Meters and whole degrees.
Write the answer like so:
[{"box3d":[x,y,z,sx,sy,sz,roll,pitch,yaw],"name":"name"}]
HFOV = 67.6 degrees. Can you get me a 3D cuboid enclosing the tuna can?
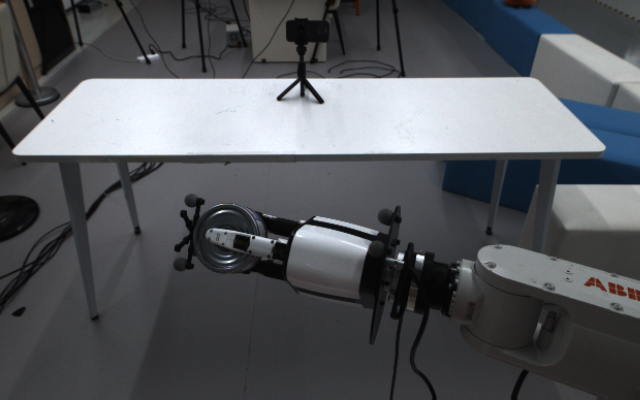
[{"box3d":[-0.106,0.046,0.588,0.085,0.085,0.034,10,-6,11],"name":"tuna can"}]
